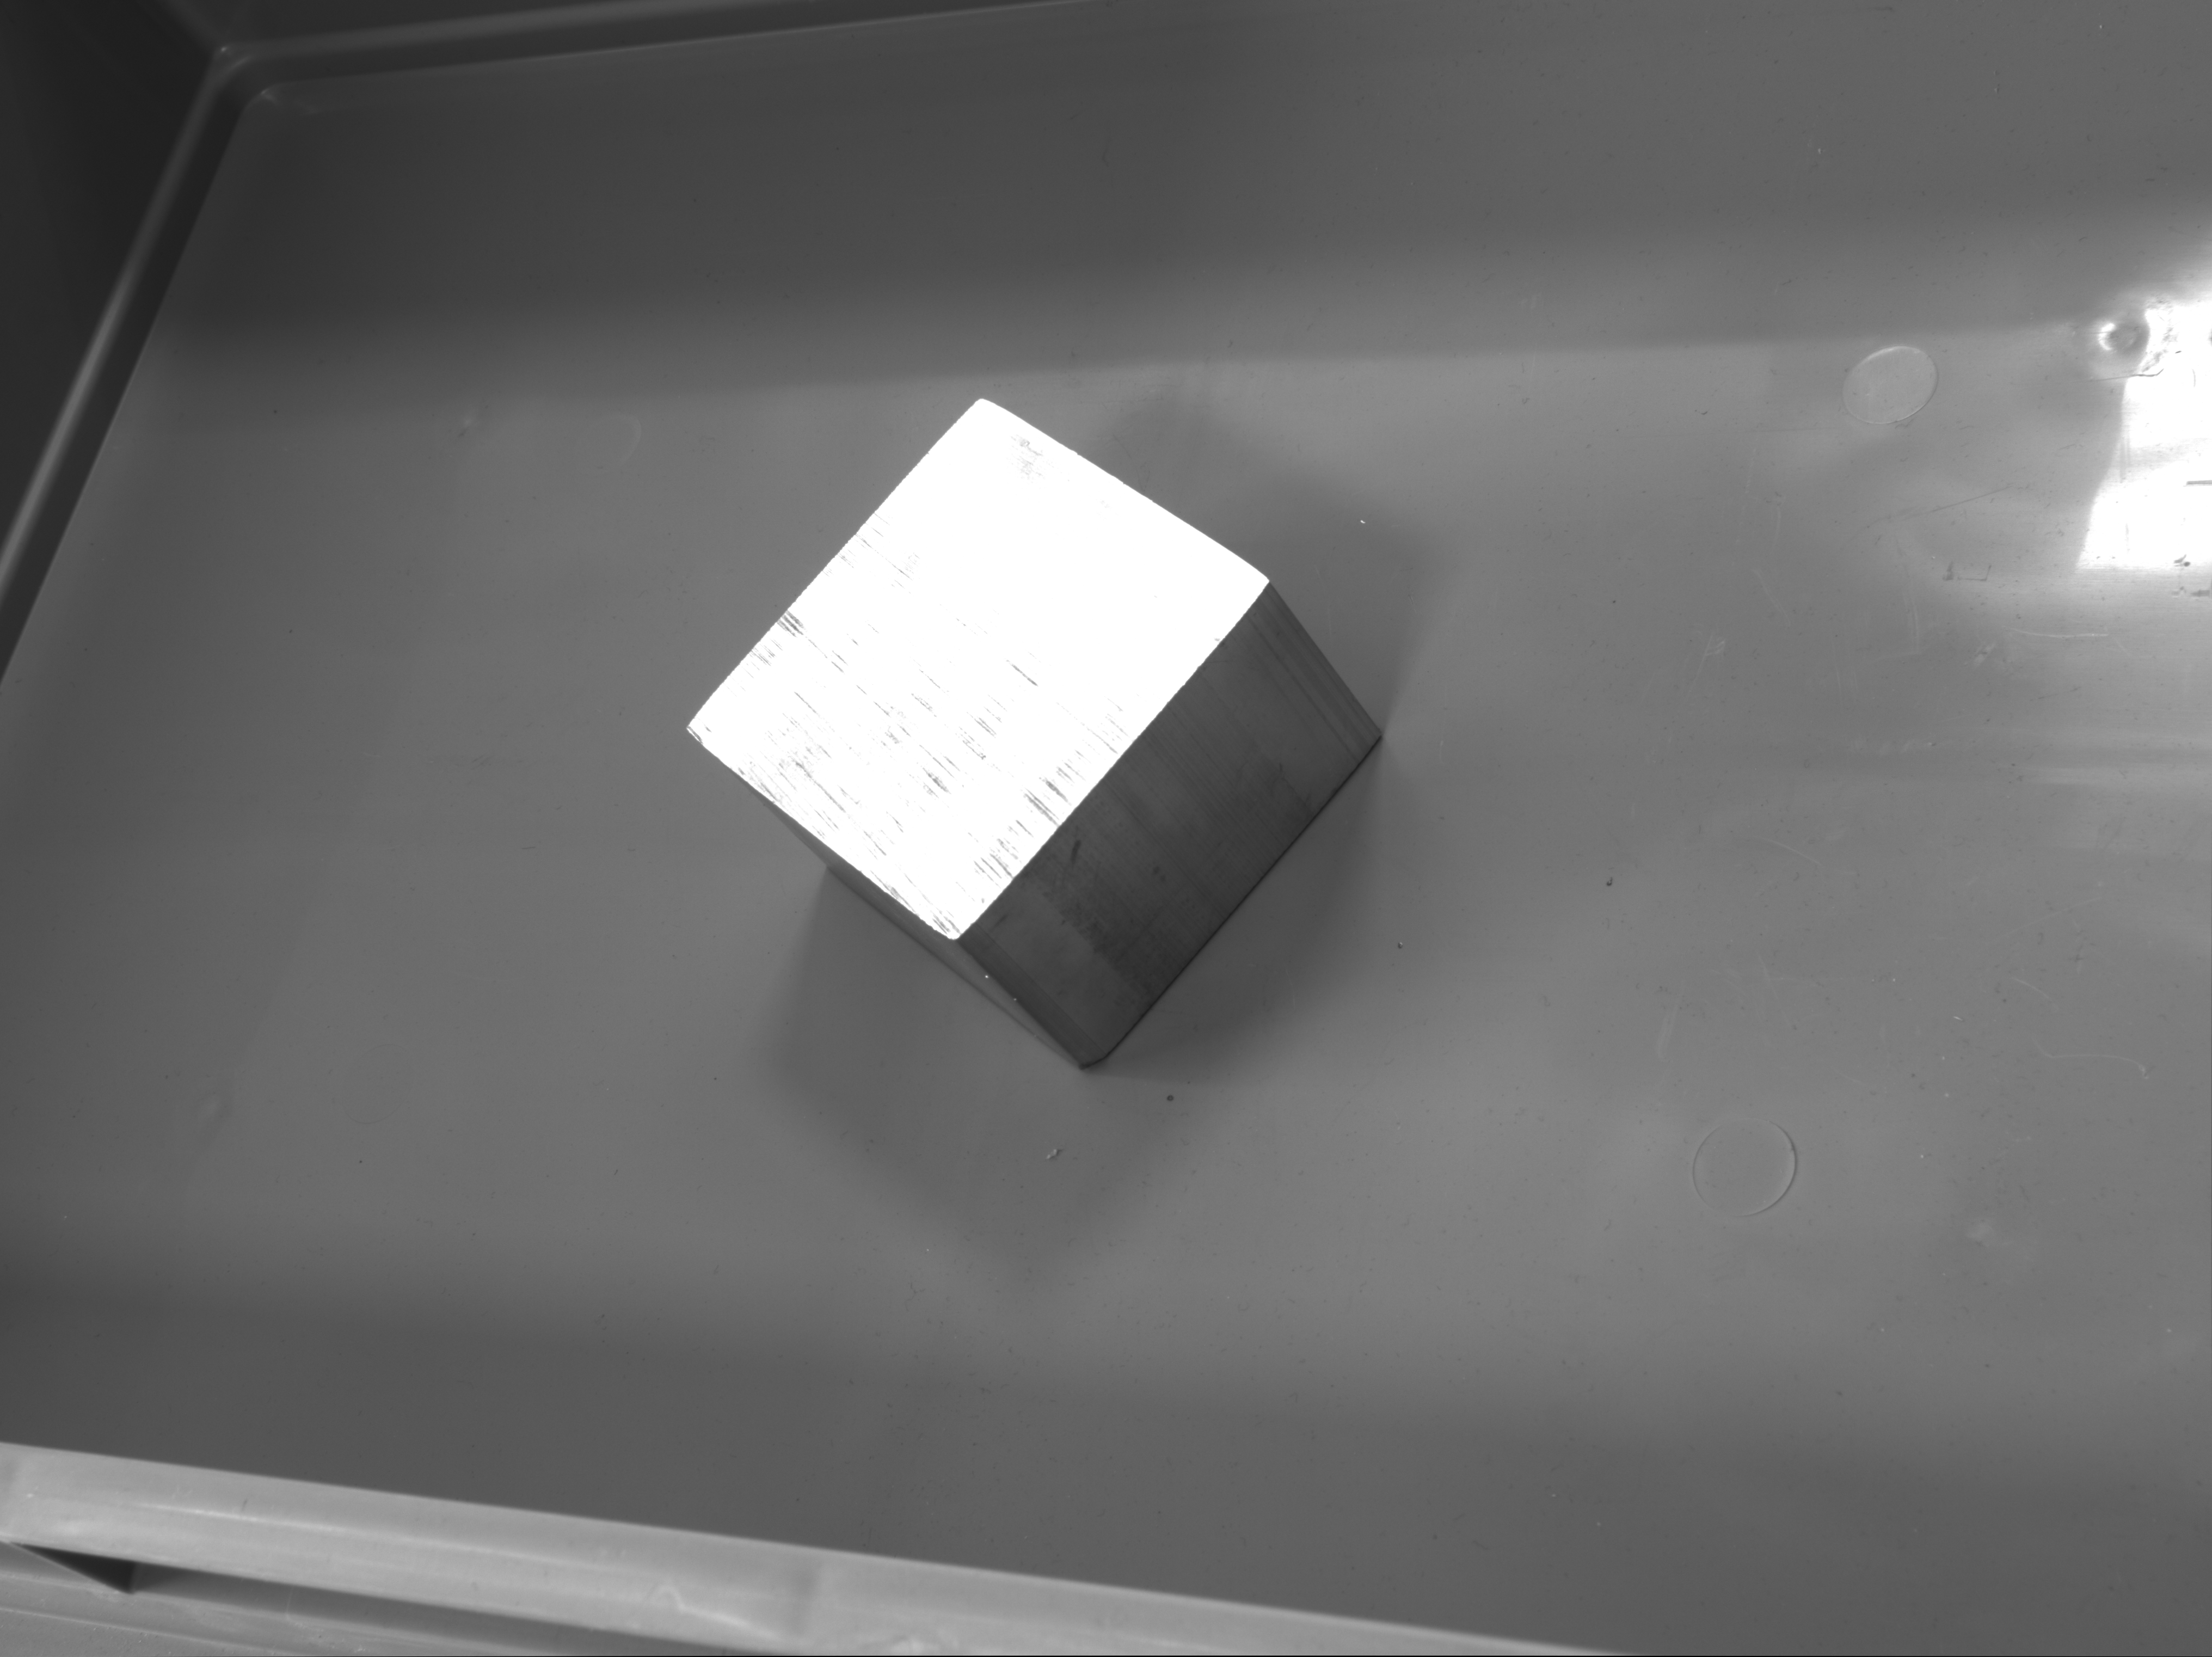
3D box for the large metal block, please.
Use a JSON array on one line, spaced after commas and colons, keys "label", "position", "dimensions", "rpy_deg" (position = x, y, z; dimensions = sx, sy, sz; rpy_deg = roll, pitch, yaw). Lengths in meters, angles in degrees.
[{"label": "large metal block", "position": [-0.013, -0.017, 0.644], "dimensions": [0.080, 0.050, 0.080], "rpy_deg": [-49, 51, -7]}]
